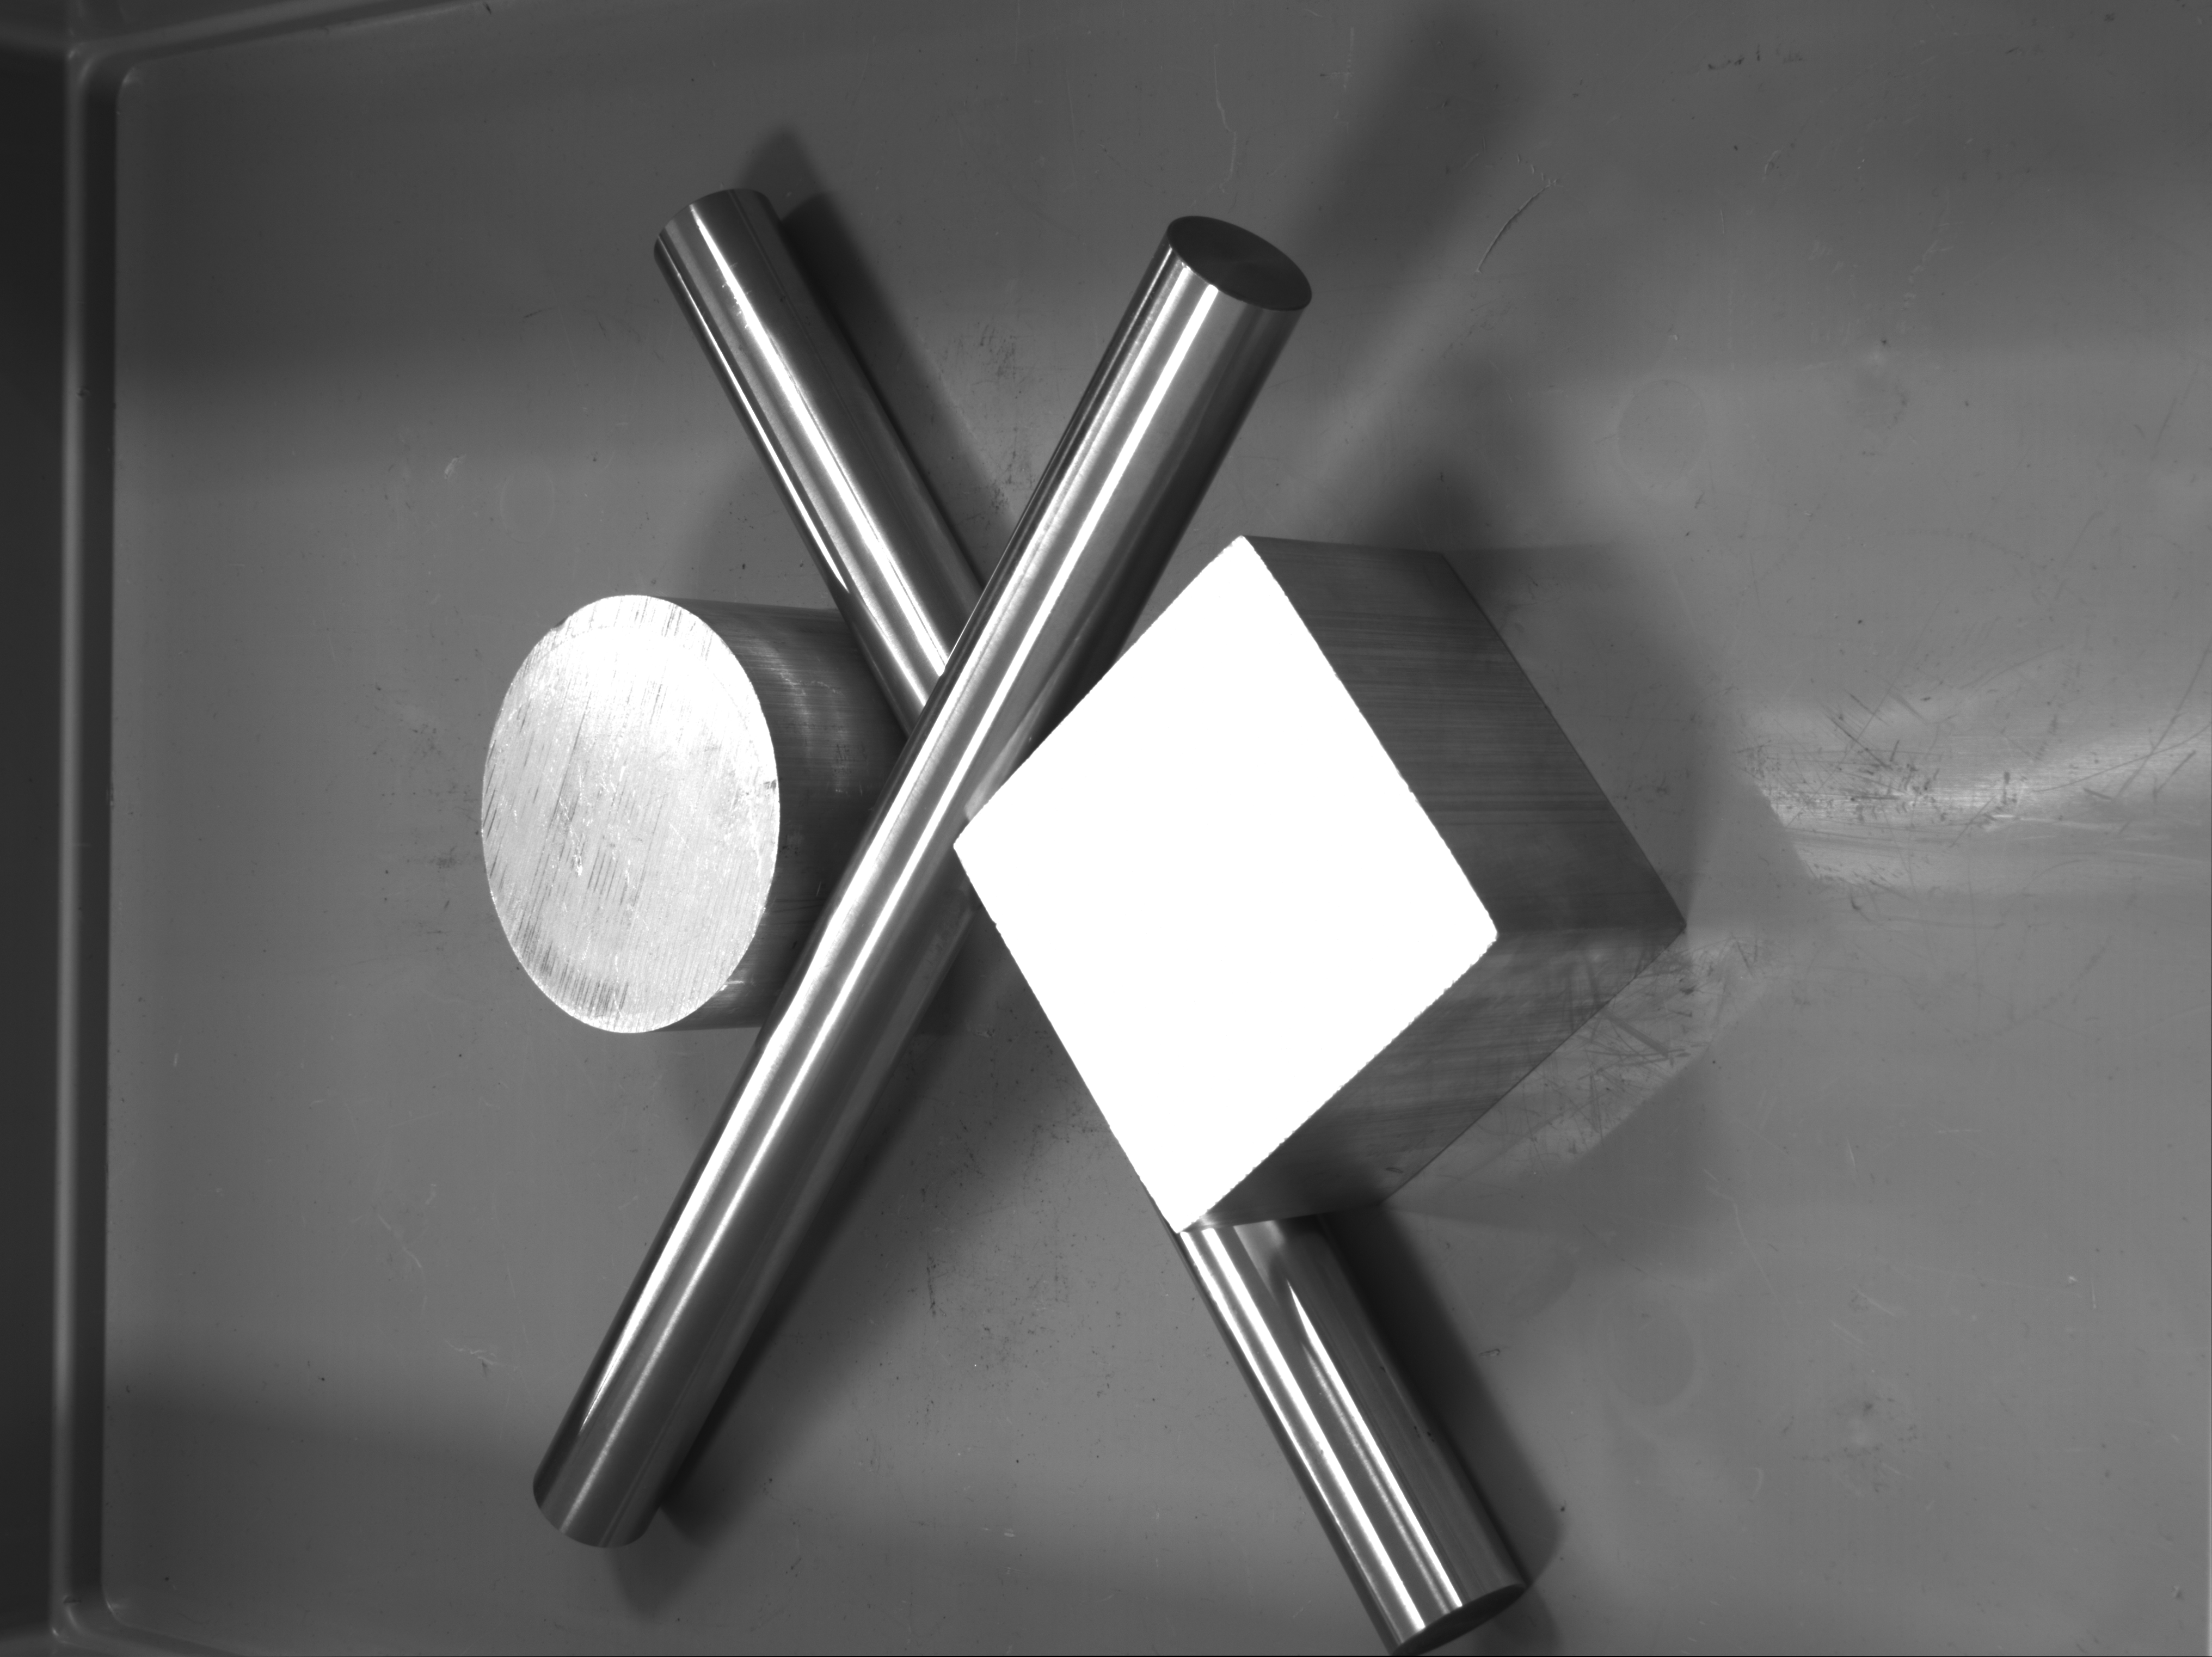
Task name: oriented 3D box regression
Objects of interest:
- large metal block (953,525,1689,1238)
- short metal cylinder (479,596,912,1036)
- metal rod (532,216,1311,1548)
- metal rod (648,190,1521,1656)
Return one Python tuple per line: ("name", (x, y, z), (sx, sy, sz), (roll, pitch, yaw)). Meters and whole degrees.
("large metal block", (0.033, 0.009, 0.598), (0.080, 0.050, 0.080), (-46, 62, 30))
("short metal cylinder", (-0.072, -0.002, 0.688), (0.080, 0.050, 0.080), (0, 90, 40))
("metal rod", (-0.041, 0.023, 0.651), (0.025, 0.025, 0.300), (50, 128, 29))
("metal rod", (-0.010, 0.007, 0.651), (0.025, 0.025, 0.300), (-43, 64, 32))
